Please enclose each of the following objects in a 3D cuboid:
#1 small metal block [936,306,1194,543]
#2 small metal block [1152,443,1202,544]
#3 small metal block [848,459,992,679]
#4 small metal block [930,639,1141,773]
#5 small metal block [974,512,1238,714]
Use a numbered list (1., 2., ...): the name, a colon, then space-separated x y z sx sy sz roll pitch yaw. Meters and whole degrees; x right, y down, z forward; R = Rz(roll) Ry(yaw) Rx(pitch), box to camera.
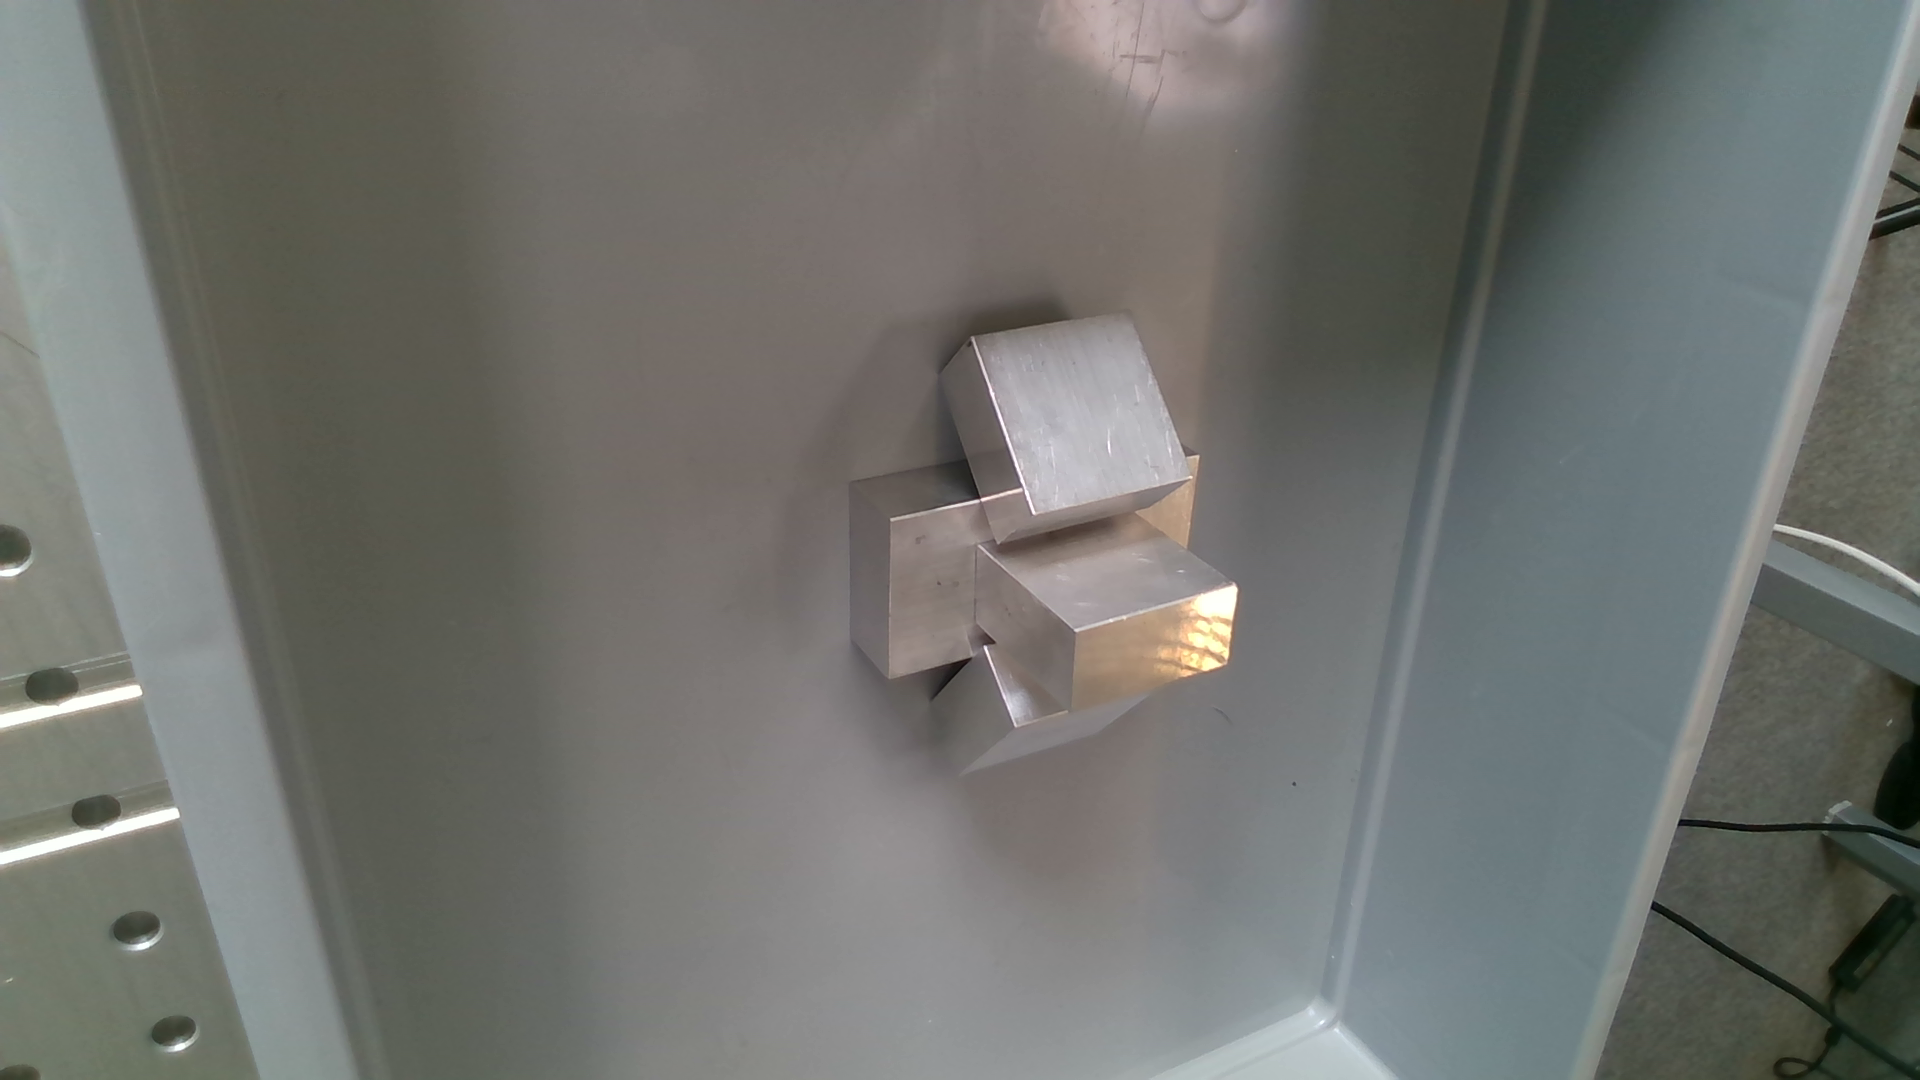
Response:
1. small metal block: 0.028 -0.032 0.371 0.050 0.025 0.050 -14 78 -25
2. small metal block: 0.041 -0.004 0.410 0.050 0.025 0.050 -12 121 -26
3. small metal block: -0.004 0.006 0.389 0.050 0.025 0.050 -12 120 -26
4. small metal block: 0.025 0.045 0.412 0.050 0.025 0.050 -12 160 -25
5. small metal block: 0.038 0.017 0.371 0.050 0.050 0.025 -14 122 -25
